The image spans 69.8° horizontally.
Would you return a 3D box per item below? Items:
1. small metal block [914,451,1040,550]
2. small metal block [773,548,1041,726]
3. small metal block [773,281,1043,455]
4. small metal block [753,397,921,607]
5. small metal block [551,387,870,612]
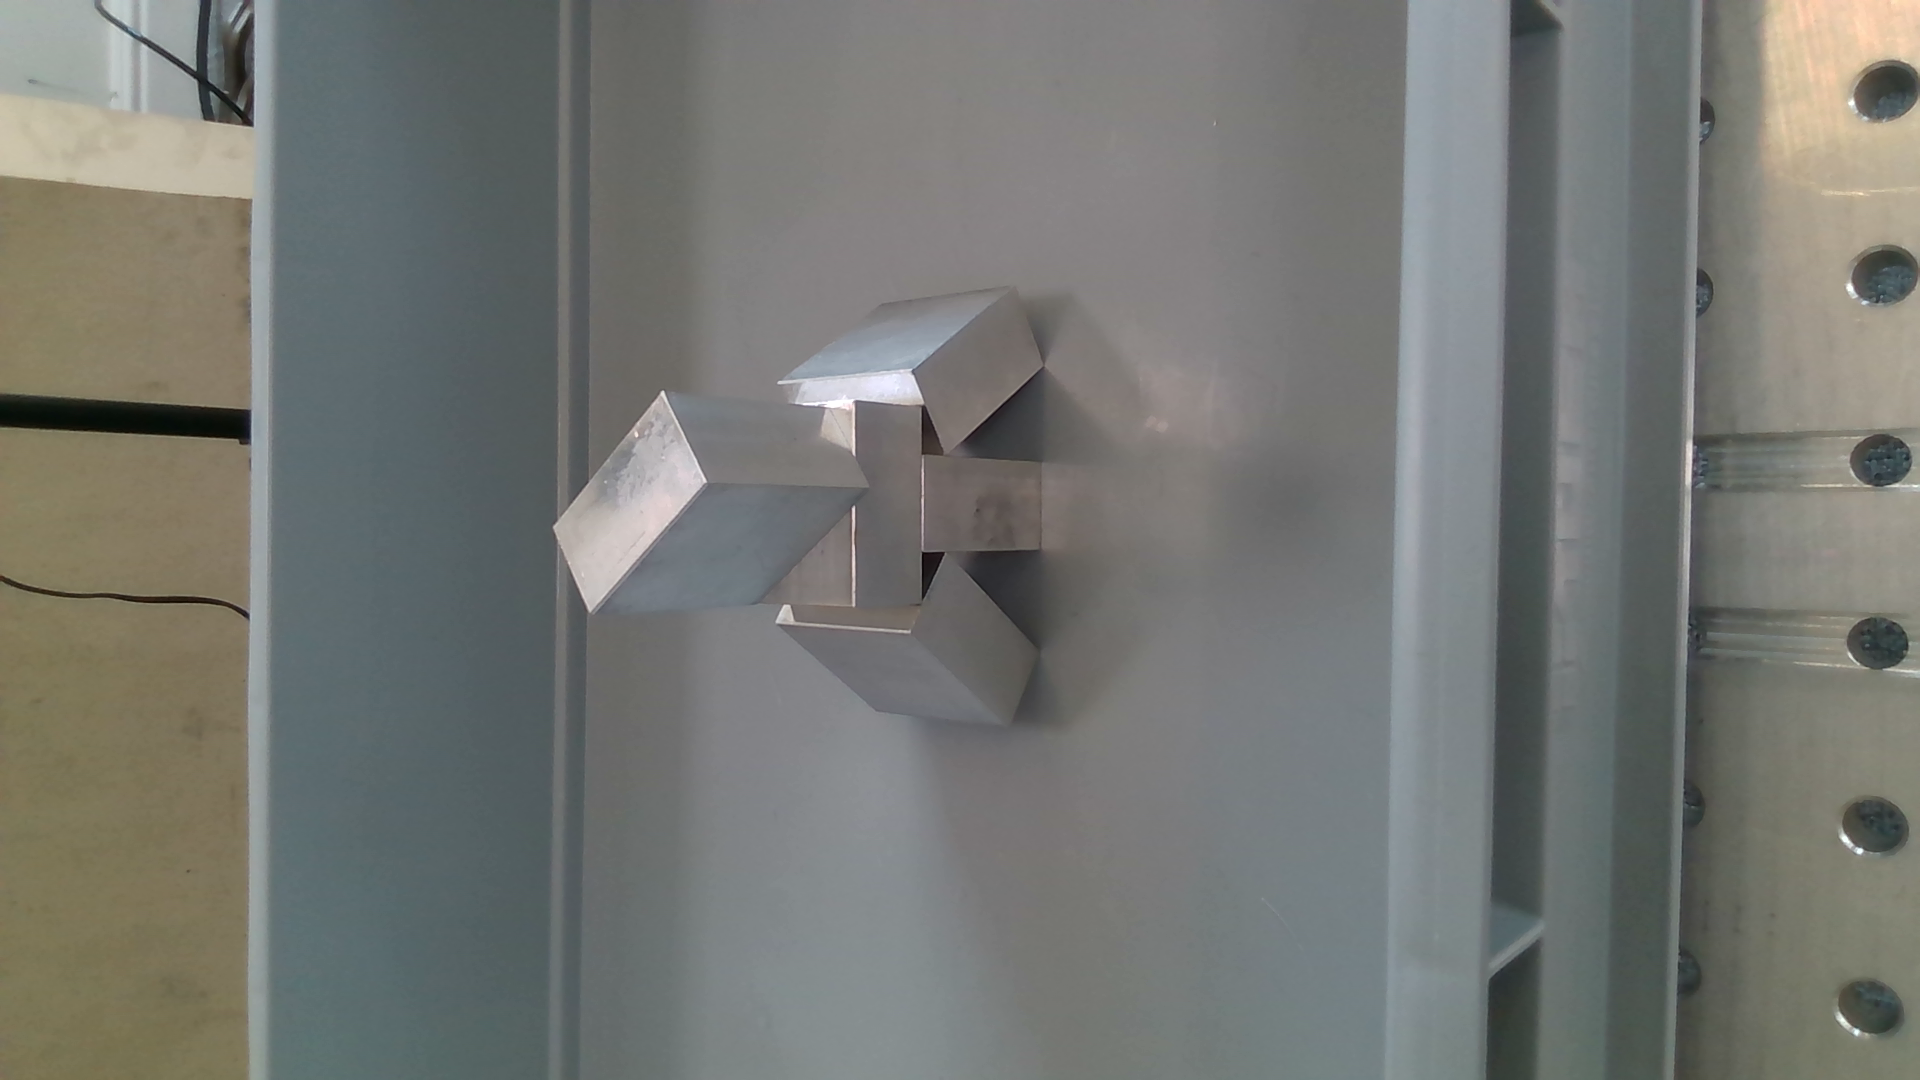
[{"bbox_3d":[-0.013,-0.010,0.383,0.050,0.050,0.025,1,91,40],"label":"small metal block"},{"bbox_3d":[-0.014,0.026,0.382,0.050,0.050,0.025,1,57,40],"label":"small metal block"},{"bbox_3d":[-0.014,-0.046,0.380,0.050,0.050,0.025,1,124,40],"label":"small metal block"},{"bbox_3d":[-0.037,-0.009,0.354,0.050,0.025,0.050,1,91,40],"label":"small metal block"},{"bbox_3d":[-0.058,-0.008,0.323,0.050,0.050,0.025,-42,64,32],"label":"small metal block"}]
